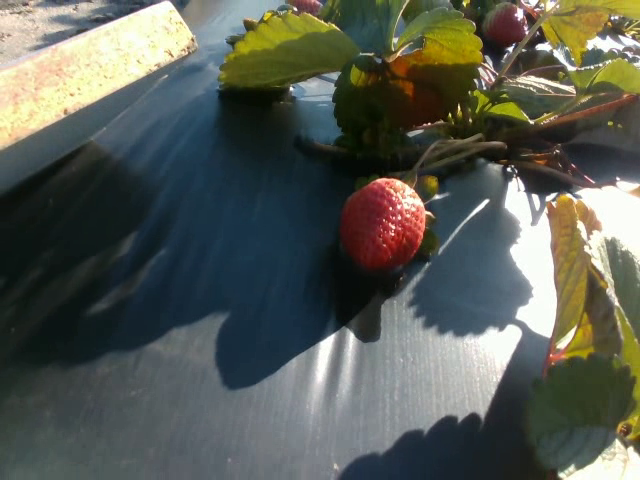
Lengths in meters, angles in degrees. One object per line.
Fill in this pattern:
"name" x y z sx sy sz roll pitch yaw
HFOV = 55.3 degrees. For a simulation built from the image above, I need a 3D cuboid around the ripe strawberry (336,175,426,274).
"ripe strawberry" 0.025 -0.005 0.242 0.045 0.043 0.064 -27 19 24
